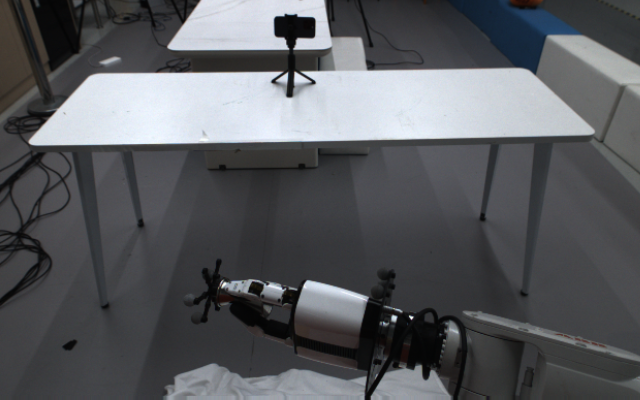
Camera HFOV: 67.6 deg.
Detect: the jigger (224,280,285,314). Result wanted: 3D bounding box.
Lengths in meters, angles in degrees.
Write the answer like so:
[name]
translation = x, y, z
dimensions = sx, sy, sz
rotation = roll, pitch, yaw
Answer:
[jigger]
translation = -0.094, 0.126, 0.651
dimensions = 0.071, 0.043, 0.043
rotation = 8, 35, 15
